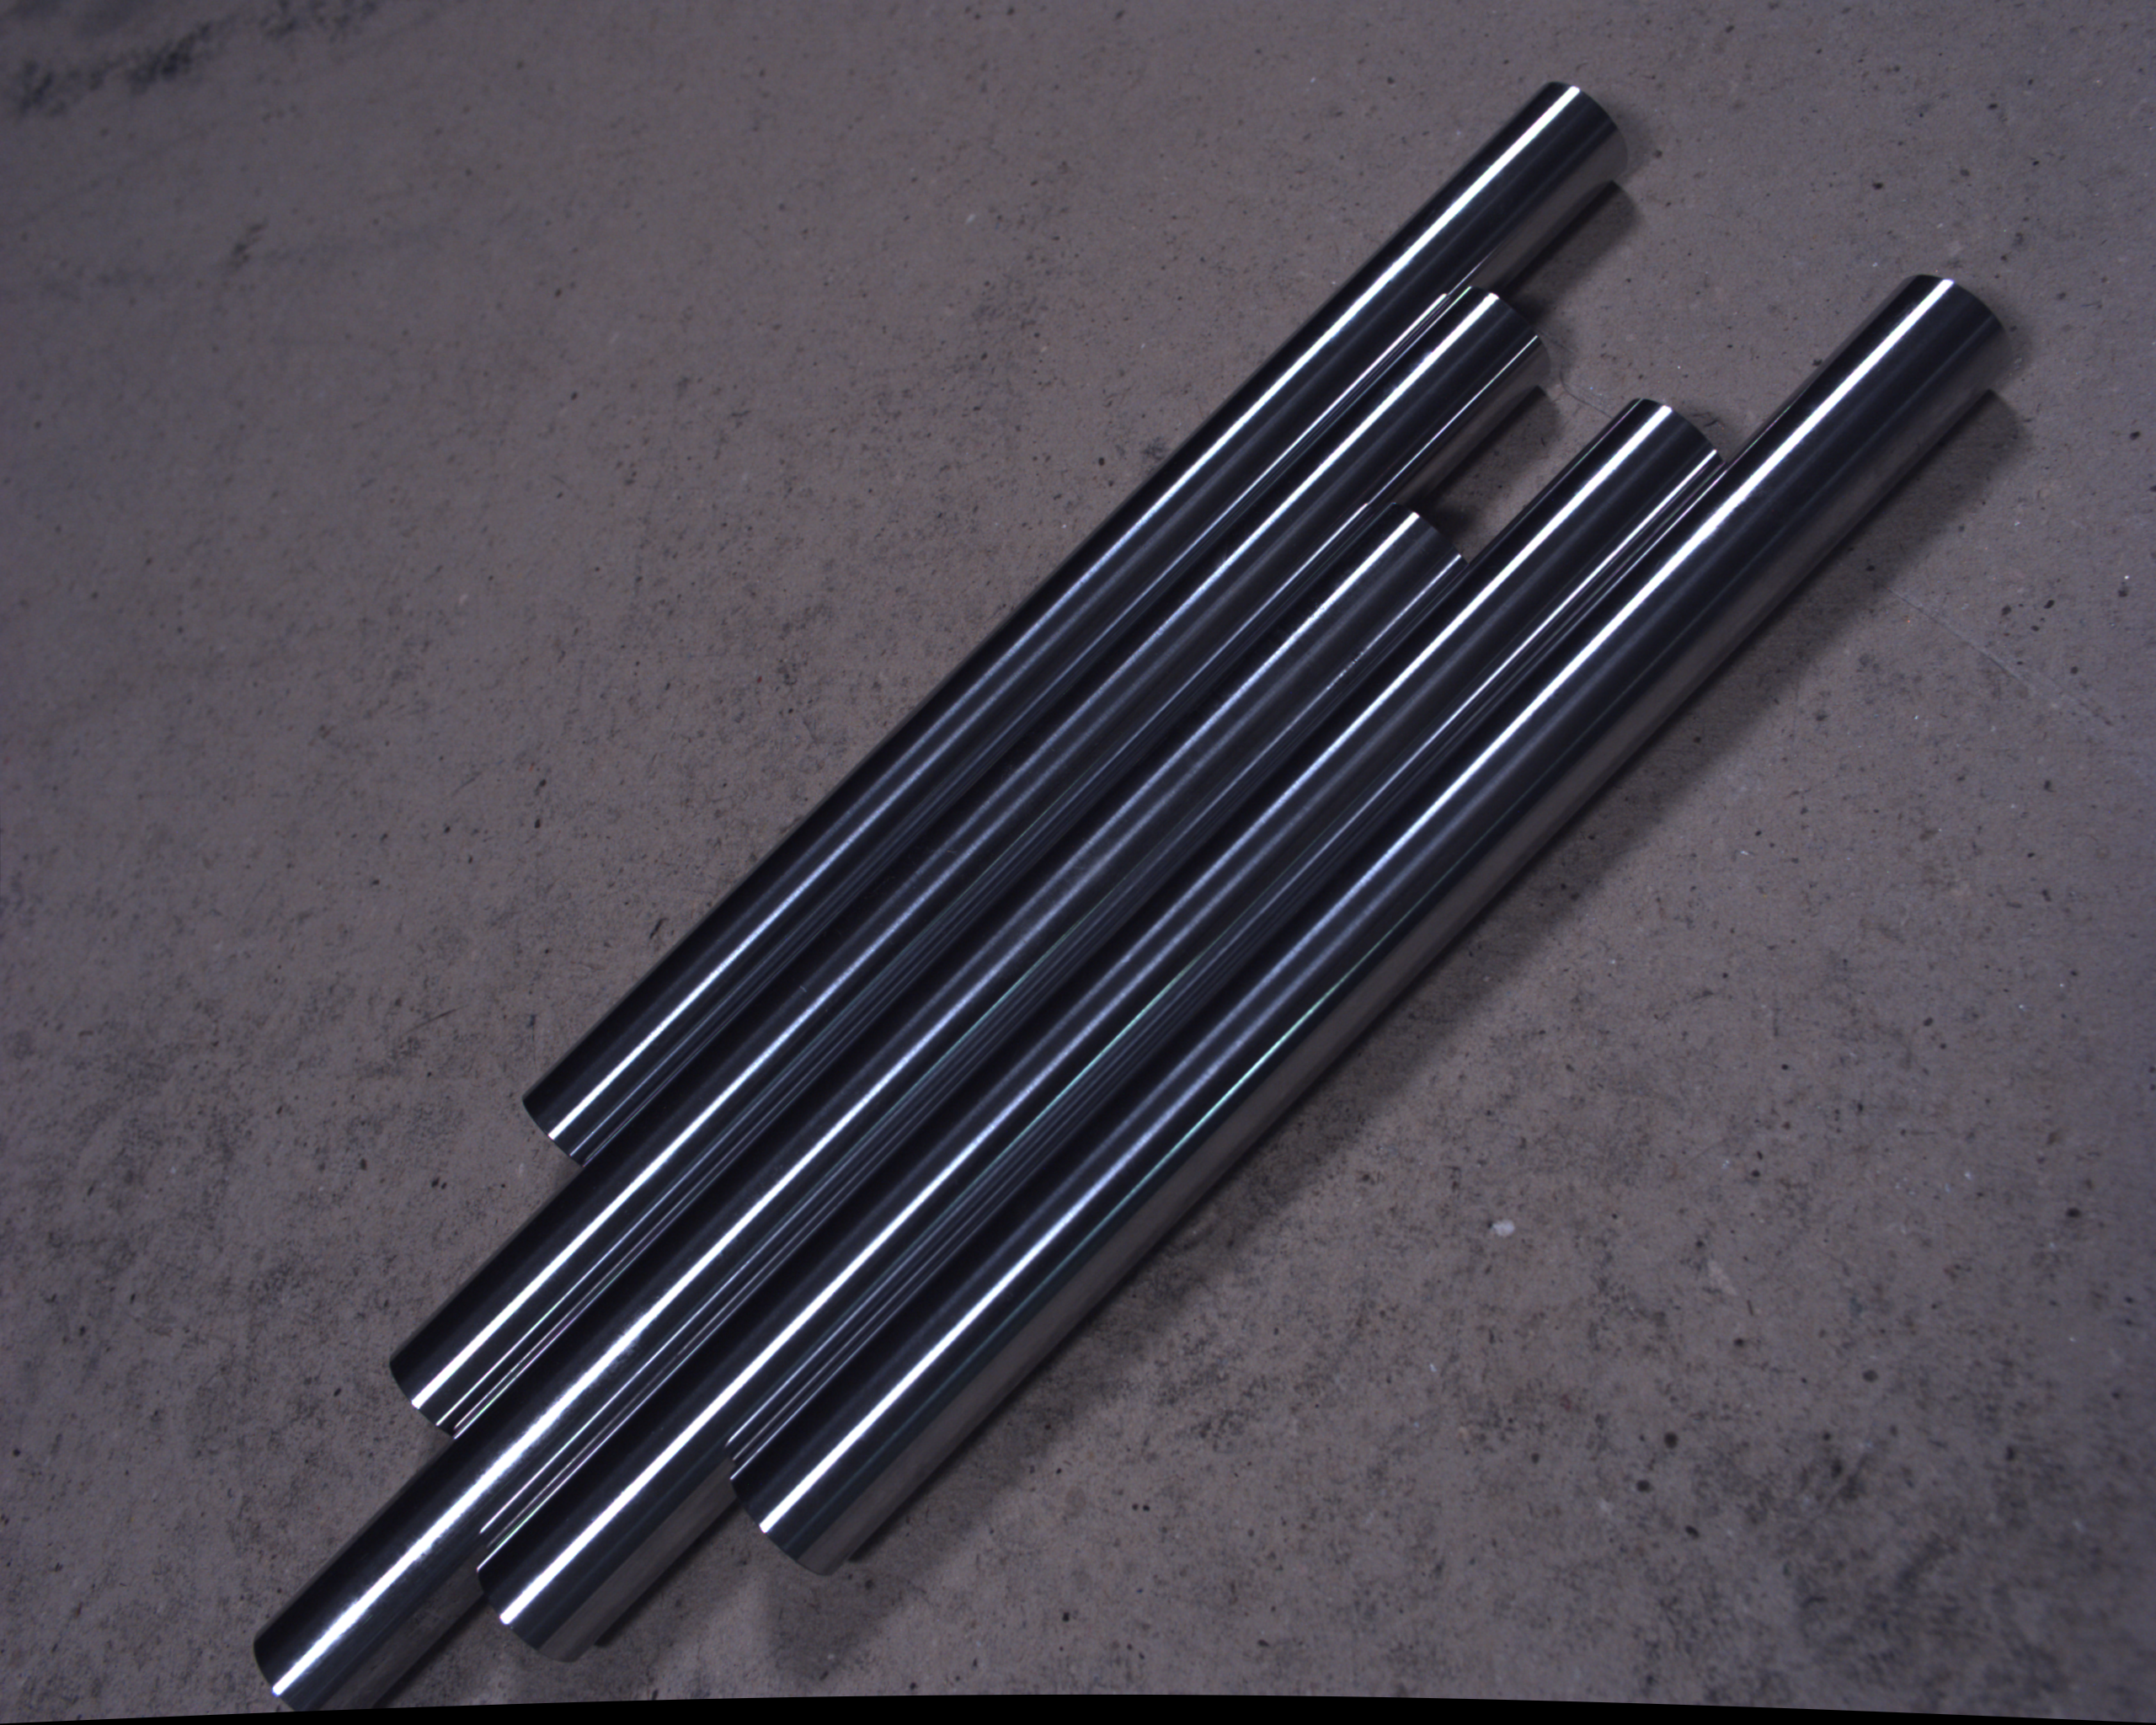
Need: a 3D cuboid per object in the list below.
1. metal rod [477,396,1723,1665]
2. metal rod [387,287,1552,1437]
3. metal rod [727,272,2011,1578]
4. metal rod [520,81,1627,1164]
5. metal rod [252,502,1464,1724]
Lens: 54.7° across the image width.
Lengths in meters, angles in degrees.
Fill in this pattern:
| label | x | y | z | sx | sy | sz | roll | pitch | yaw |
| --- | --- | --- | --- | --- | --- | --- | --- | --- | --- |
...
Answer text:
| label | x | y | z | sx | sy | sz | roll | pitch | yaw |
| --- | --- | --- | --- | --- | --- | --- | --- | --- | --- |
| metal rod | 0.007 | 0.028 | 0.383 | 0.300 | 0.025 | 0.025 | -45 | 51 | -4 |
| metal rod | -0.019 | -0.002 | 0.415 | 0.300 | 0.025 | 0.025 | -45 | 51 | -4 |
| metal rod | 0.054 | 0.008 | 0.371 | 0.300 | 0.025 | 0.025 | -45 | 51 | -4 |
| metal rod | 0.002 | -0.050 | 0.434 | 0.300 | 0.025 | 0.025 | -45 | 51 | -4 |
| metal rod | -0.037 | 0.045 | 0.396 | 0.300 | 0.025 | 0.025 | -45 | 51 | -4 |
